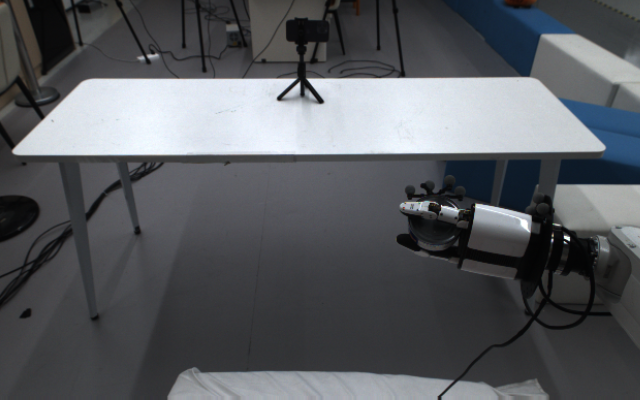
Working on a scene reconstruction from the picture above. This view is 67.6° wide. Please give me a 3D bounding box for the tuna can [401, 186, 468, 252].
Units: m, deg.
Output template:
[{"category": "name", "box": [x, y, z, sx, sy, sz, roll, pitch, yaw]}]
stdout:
[{"category": "tuna can", "box": [0.183, 0.036, 0.769, 0.085, 0.034, 0.085, -4, 61, 7]}]
